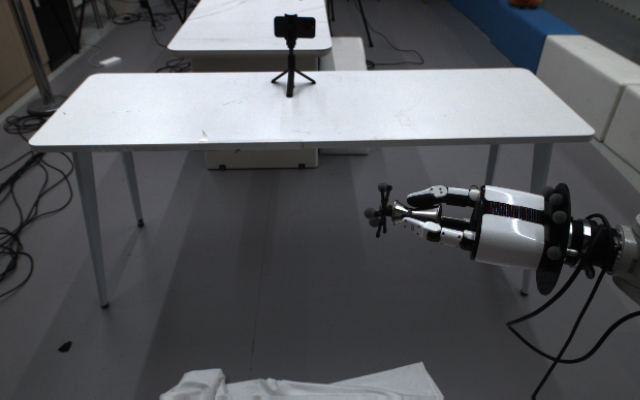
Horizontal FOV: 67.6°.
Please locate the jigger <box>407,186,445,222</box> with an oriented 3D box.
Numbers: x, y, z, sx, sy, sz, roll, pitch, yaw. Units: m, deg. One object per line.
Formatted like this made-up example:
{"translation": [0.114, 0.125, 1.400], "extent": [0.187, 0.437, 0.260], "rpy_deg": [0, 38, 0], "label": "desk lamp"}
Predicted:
{"translation": [0.153, 0.016, 0.732], "extent": [0.071, 0.043, 0.043], "rpy_deg": [6, 34, 22], "label": "jigger"}
